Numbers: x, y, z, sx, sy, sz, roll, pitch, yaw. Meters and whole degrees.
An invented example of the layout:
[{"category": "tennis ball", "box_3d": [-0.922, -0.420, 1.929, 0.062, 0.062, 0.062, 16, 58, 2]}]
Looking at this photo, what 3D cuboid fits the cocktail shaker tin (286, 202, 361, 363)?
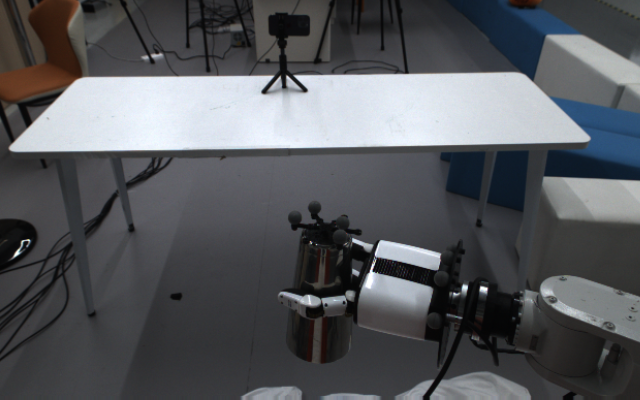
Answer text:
[{"category": "cocktail shaker tin", "box_3d": [0.005, 0.119, 0.642, 0.093, 0.170, 0.093, 2, 25, -1]}]
